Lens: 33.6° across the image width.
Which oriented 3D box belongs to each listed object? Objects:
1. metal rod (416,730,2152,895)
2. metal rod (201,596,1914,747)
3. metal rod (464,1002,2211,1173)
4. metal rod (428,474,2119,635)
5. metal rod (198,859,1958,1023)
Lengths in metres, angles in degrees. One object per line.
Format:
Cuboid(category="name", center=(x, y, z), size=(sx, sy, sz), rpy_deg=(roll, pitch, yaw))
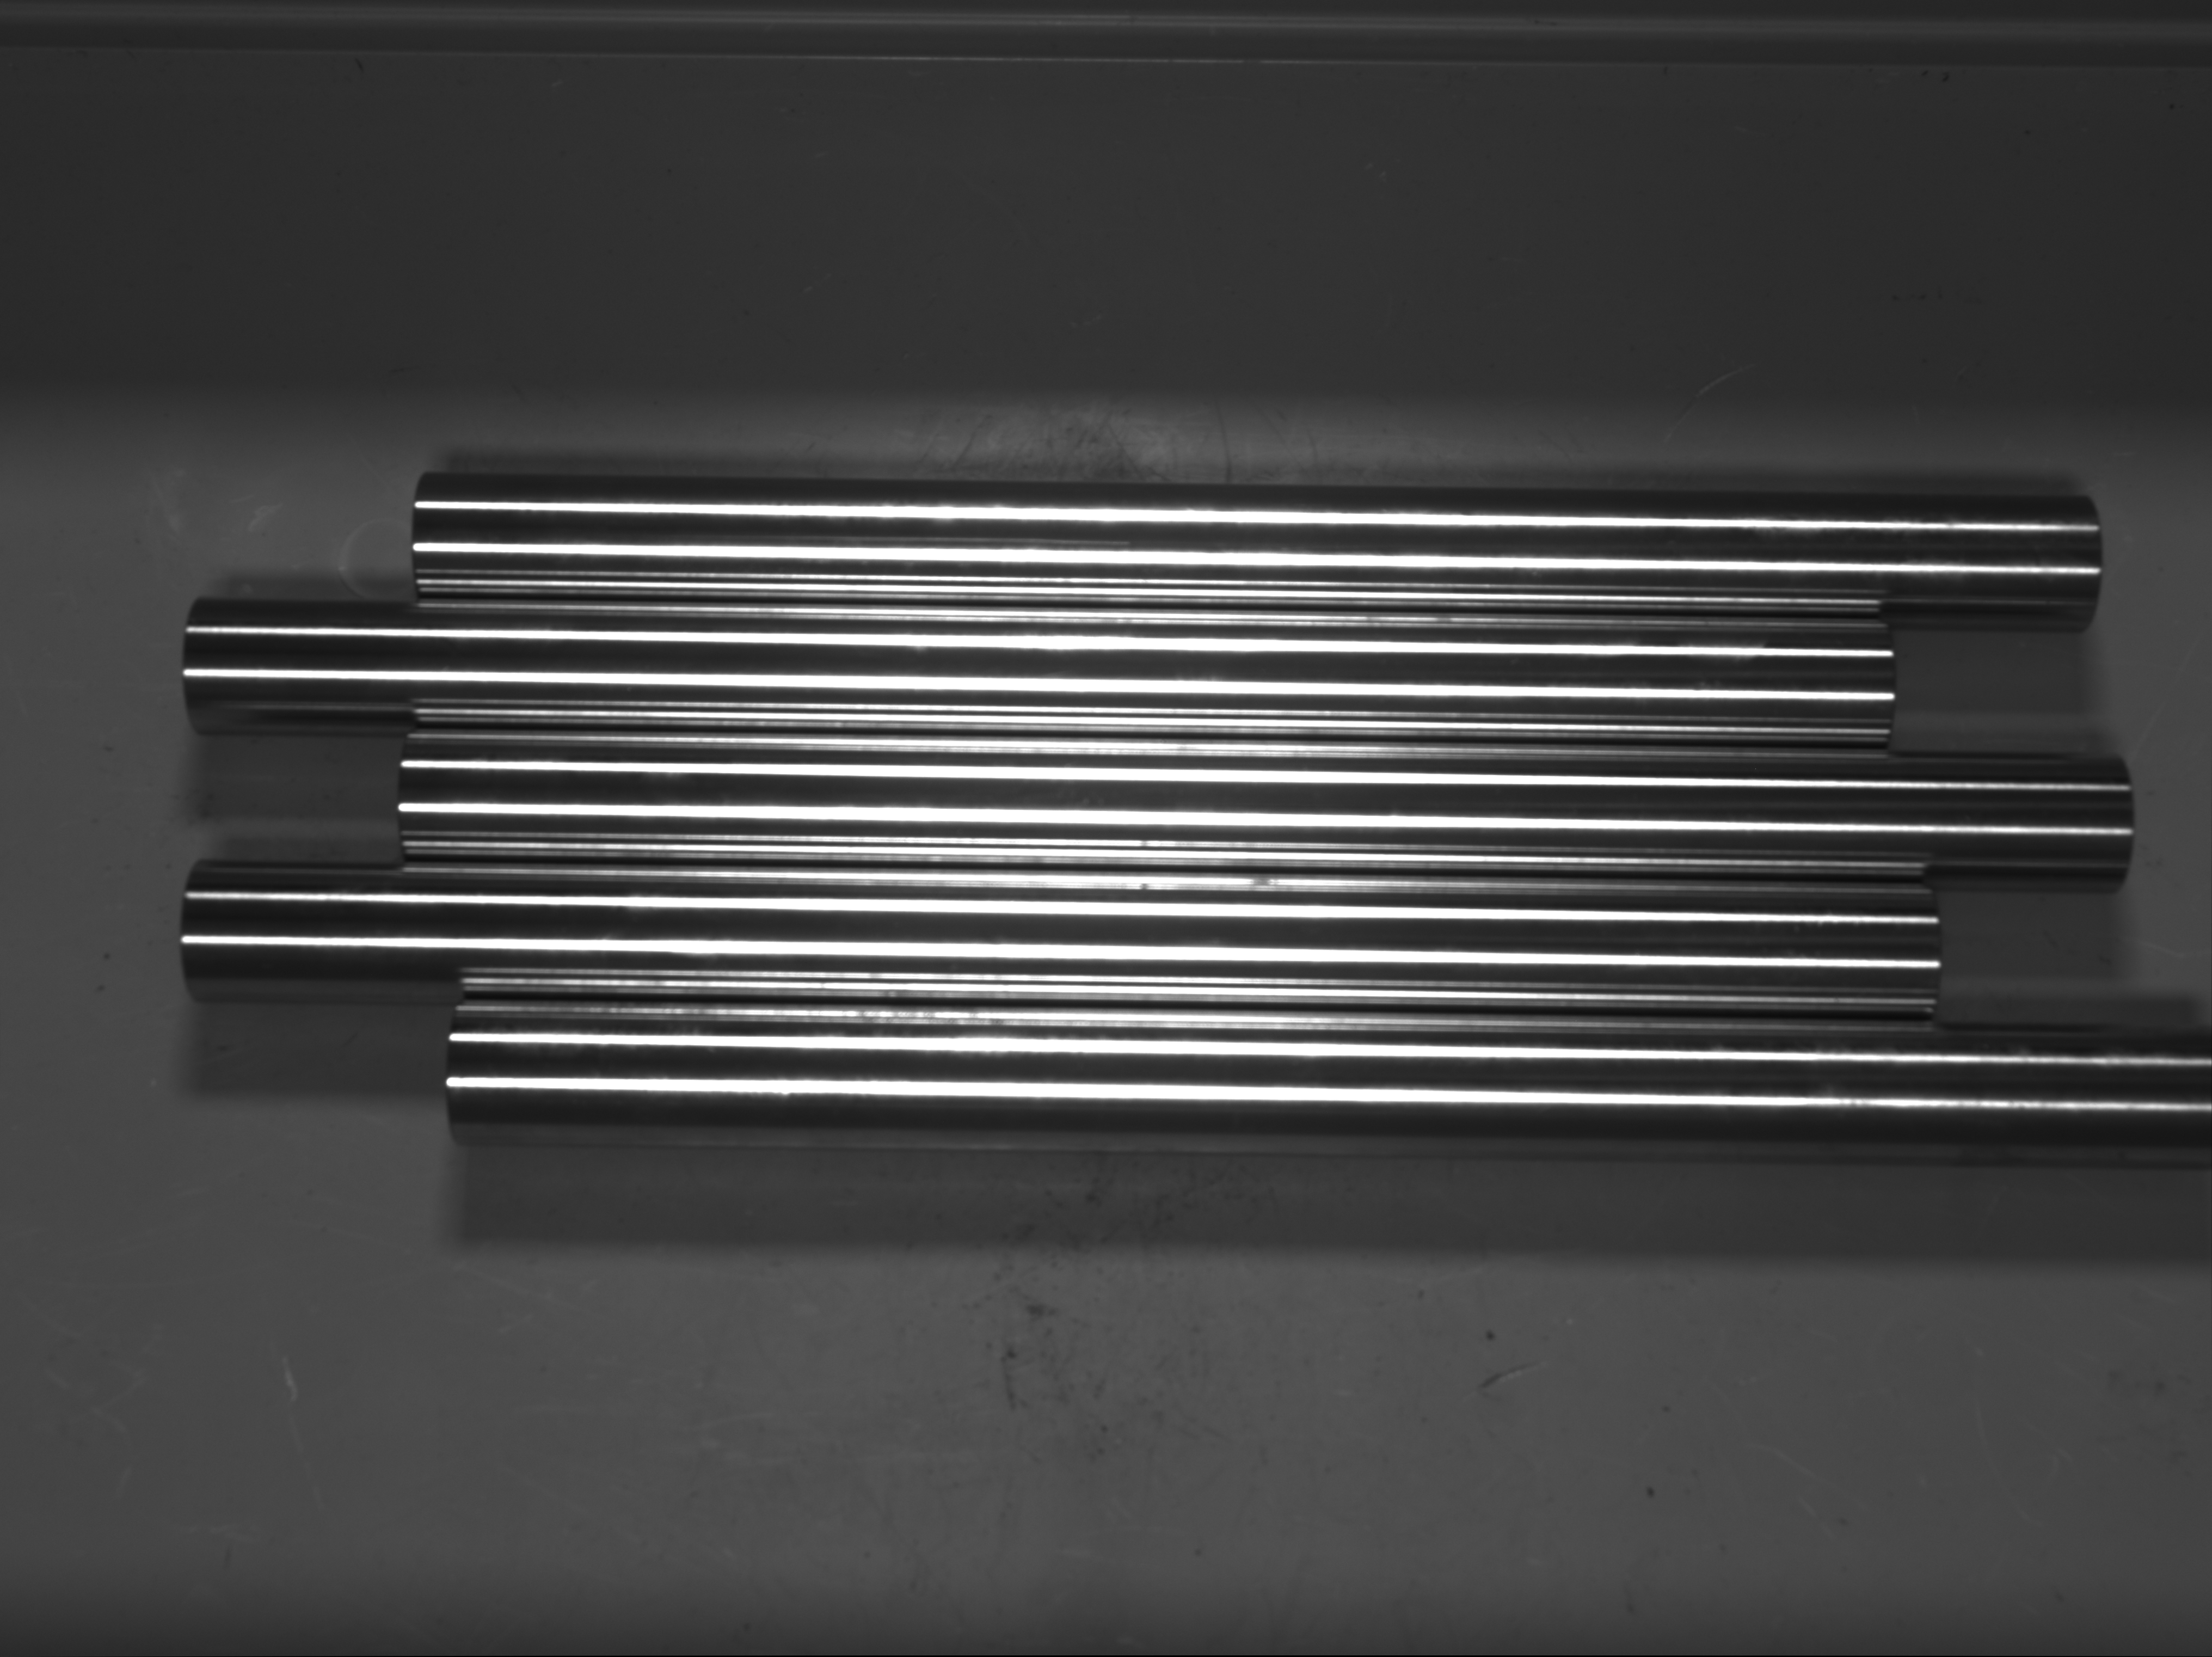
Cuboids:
Cuboid(category="metal rod", center=(0.031, -0.003, 0.645), size=(0.300, 0.025, 0.025), rpy_deg=(1, 70, 0))
Cuboid(category="metal rod", center=(-0.009, -0.027, 0.654), size=(0.300, 0.025, 0.025), rpy_deg=(1, 70, 0))
Cuboid(category="metal rod", center=(0.042, 0.044, 0.628), size=(0.300, 0.025, 0.025), rpy_deg=(1, 70, 0))
Cuboid(category="metal rod", center=(0.030, -0.049, 0.662), size=(0.300, 0.025, 0.025), rpy_deg=(1, 70, 0))
Cuboid(category="metal rod", center=(-0.005, 0.020, 0.636), size=(0.300, 0.025, 0.025), rpy_deg=(1, 70, 0))
